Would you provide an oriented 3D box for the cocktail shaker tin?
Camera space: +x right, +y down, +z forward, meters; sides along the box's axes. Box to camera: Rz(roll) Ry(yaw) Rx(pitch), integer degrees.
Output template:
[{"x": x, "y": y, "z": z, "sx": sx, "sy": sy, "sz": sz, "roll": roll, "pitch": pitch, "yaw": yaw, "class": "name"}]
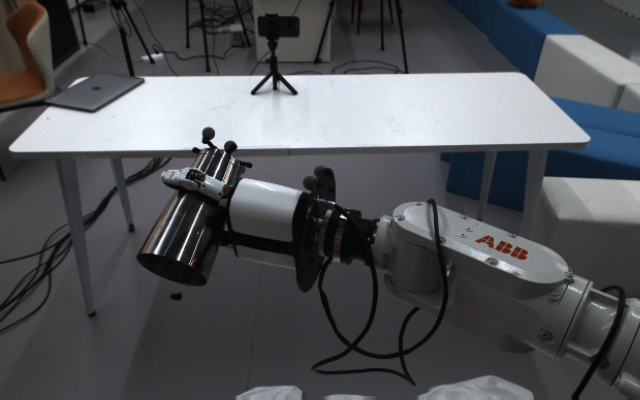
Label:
[{"x": -0.162, "y": 0.018, "z": 0.639, "sx": 0.093, "sy": 0.093, "sz": 0.170, "roll": 10, "pitch": 60, "yaw": 11, "class": "cocktail shaker tin"}]
